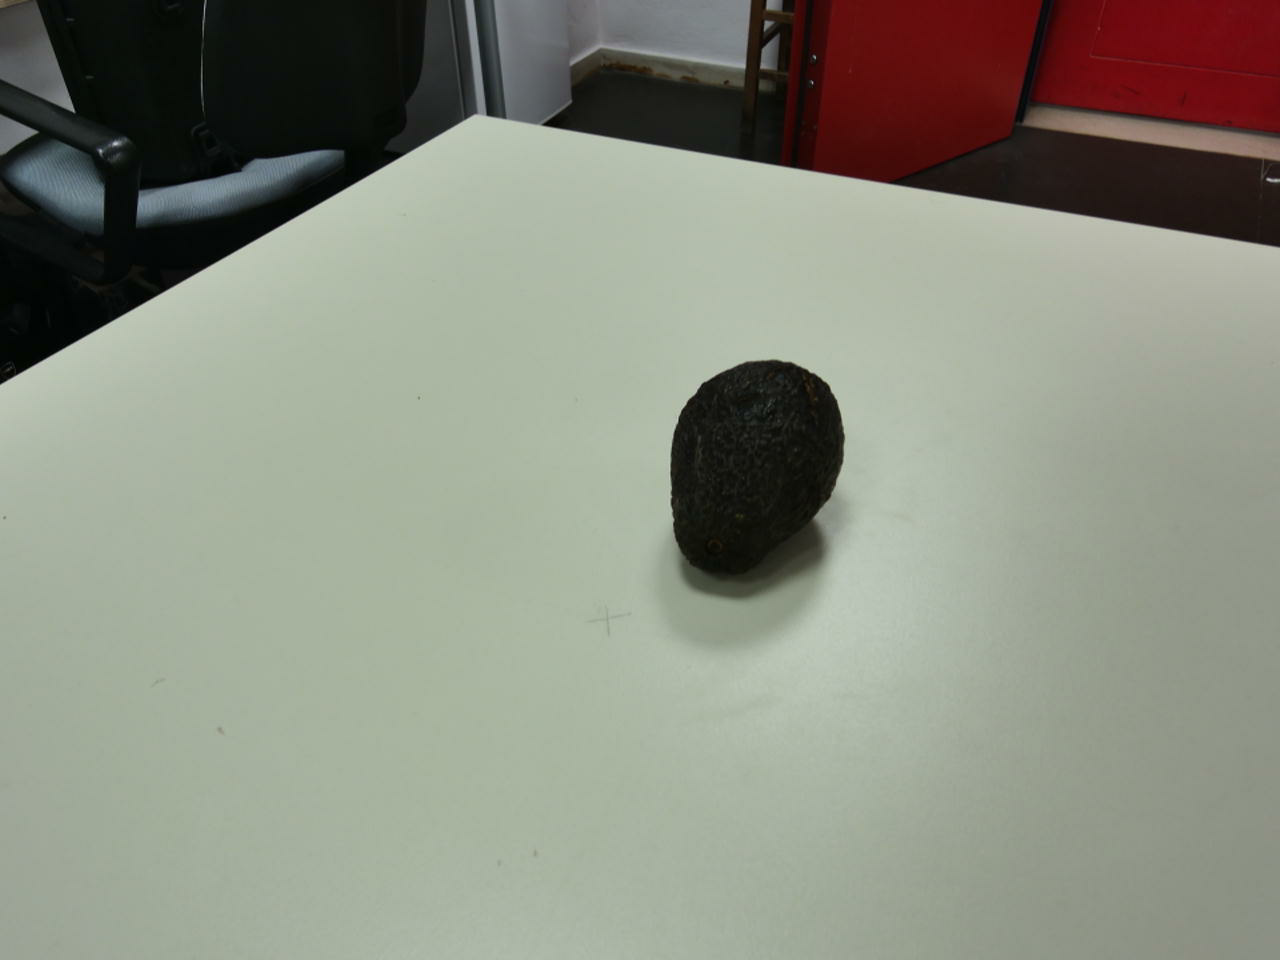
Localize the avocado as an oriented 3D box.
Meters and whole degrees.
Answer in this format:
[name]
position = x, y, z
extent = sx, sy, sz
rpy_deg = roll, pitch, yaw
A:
[avocado]
position = 0.044, -0.010, 0.410
extent = 0.090, 0.069, 0.070
rpy_deg = -26, 44, -29
